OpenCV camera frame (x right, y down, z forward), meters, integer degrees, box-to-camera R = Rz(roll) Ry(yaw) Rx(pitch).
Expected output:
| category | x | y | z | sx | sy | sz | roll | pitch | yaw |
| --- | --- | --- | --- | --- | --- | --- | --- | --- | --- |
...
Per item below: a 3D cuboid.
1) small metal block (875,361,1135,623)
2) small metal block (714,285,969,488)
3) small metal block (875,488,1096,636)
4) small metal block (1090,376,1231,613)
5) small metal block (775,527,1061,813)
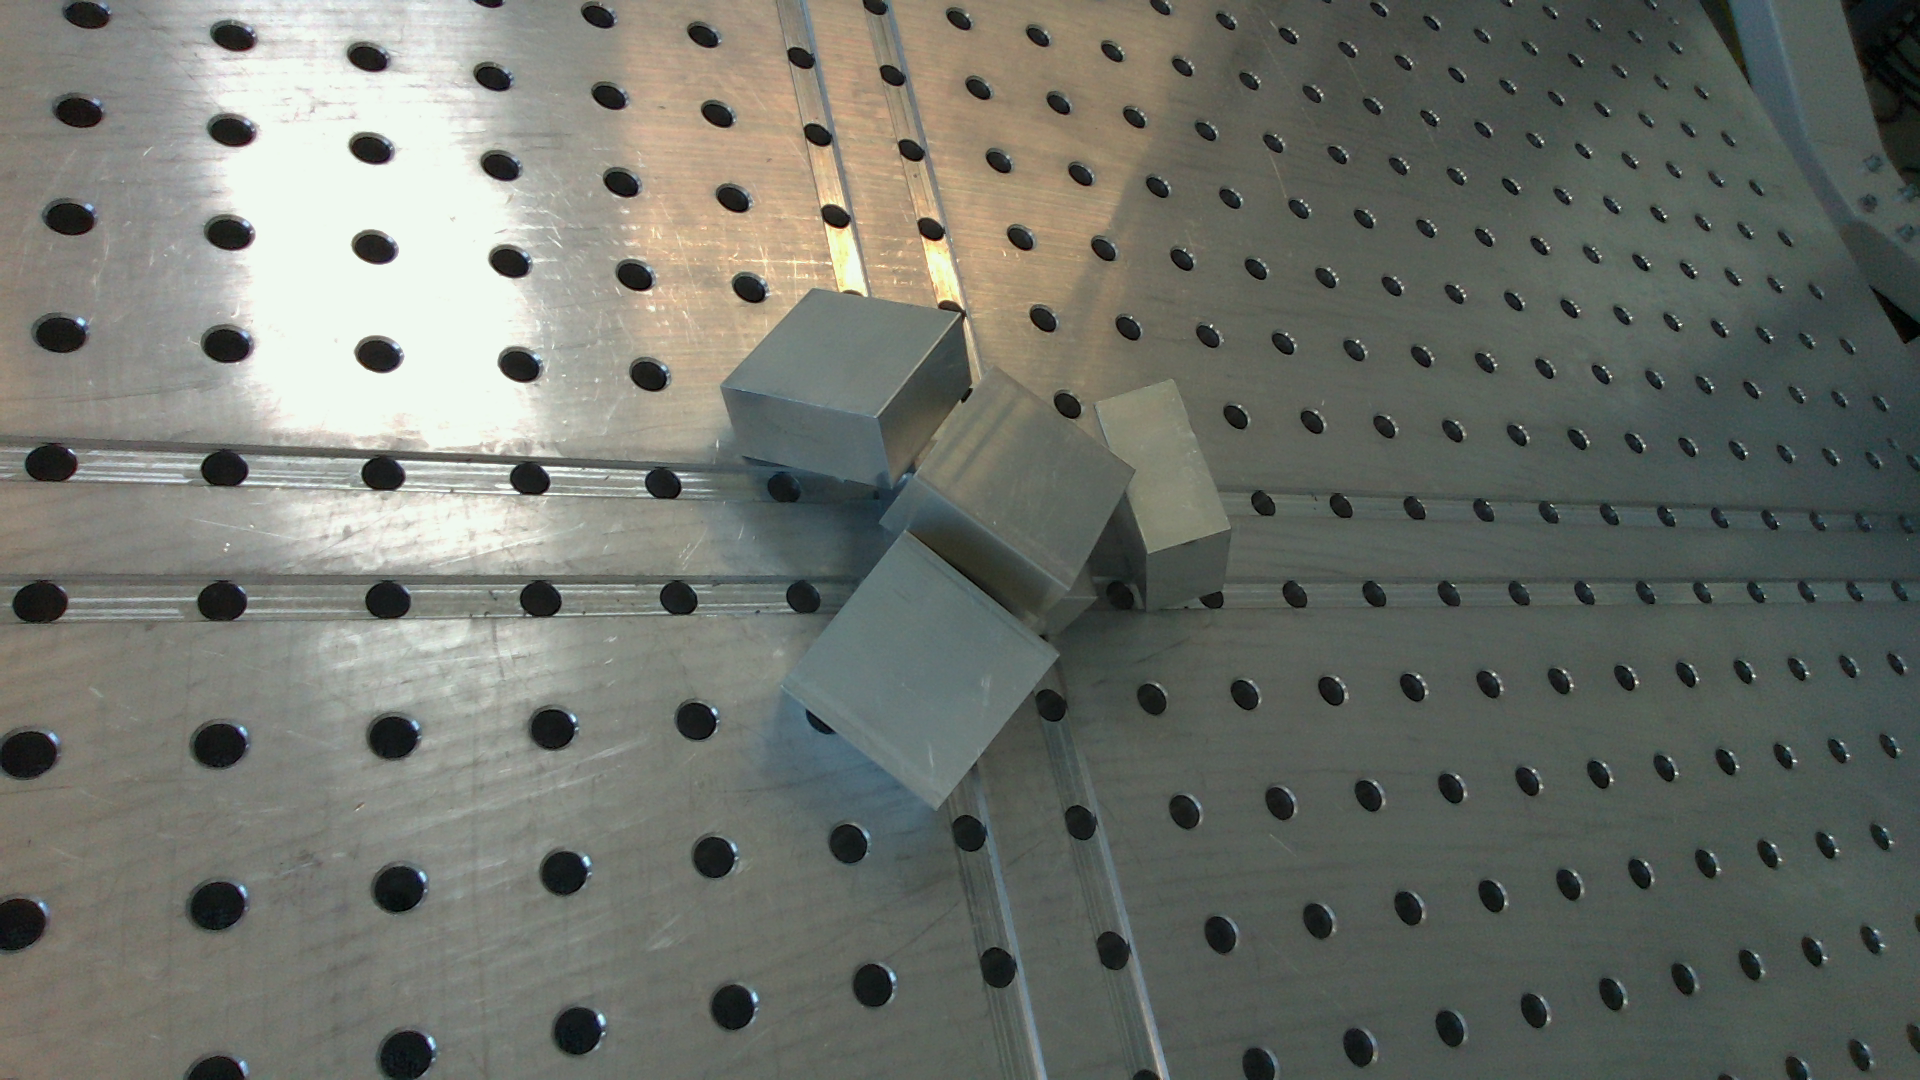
| category | x | y | z | sx | sy | sz | roll | pitch | yaw |
| --- | --- | --- | --- | --- | --- | --- | --- | --- | --- |
| small metal block | 0.013 | -0.012 | 0.374 | 0.050 | 0.025 | 0.050 | 36 | 51 | -5 |
| small metal block | -0.032 | -0.044 | 0.387 | 0.050 | 0.025 | 0.050 | 13 | 46 | 24 |
| small metal block | 0.006 | 0.000 | 0.396 | 0.050 | 0.025 | 0.050 | 2 | 63 | -27 |
| small metal block | 0.059 | -0.013 | 0.413 | 0.025 | 0.050 | 0.050 | -17 | 67 | 0 |
| small metal block | -0.011 | 0.032 | 0.351 | 0.050 | 0.025 | 0.050 | 38 | 88 | -2 |
